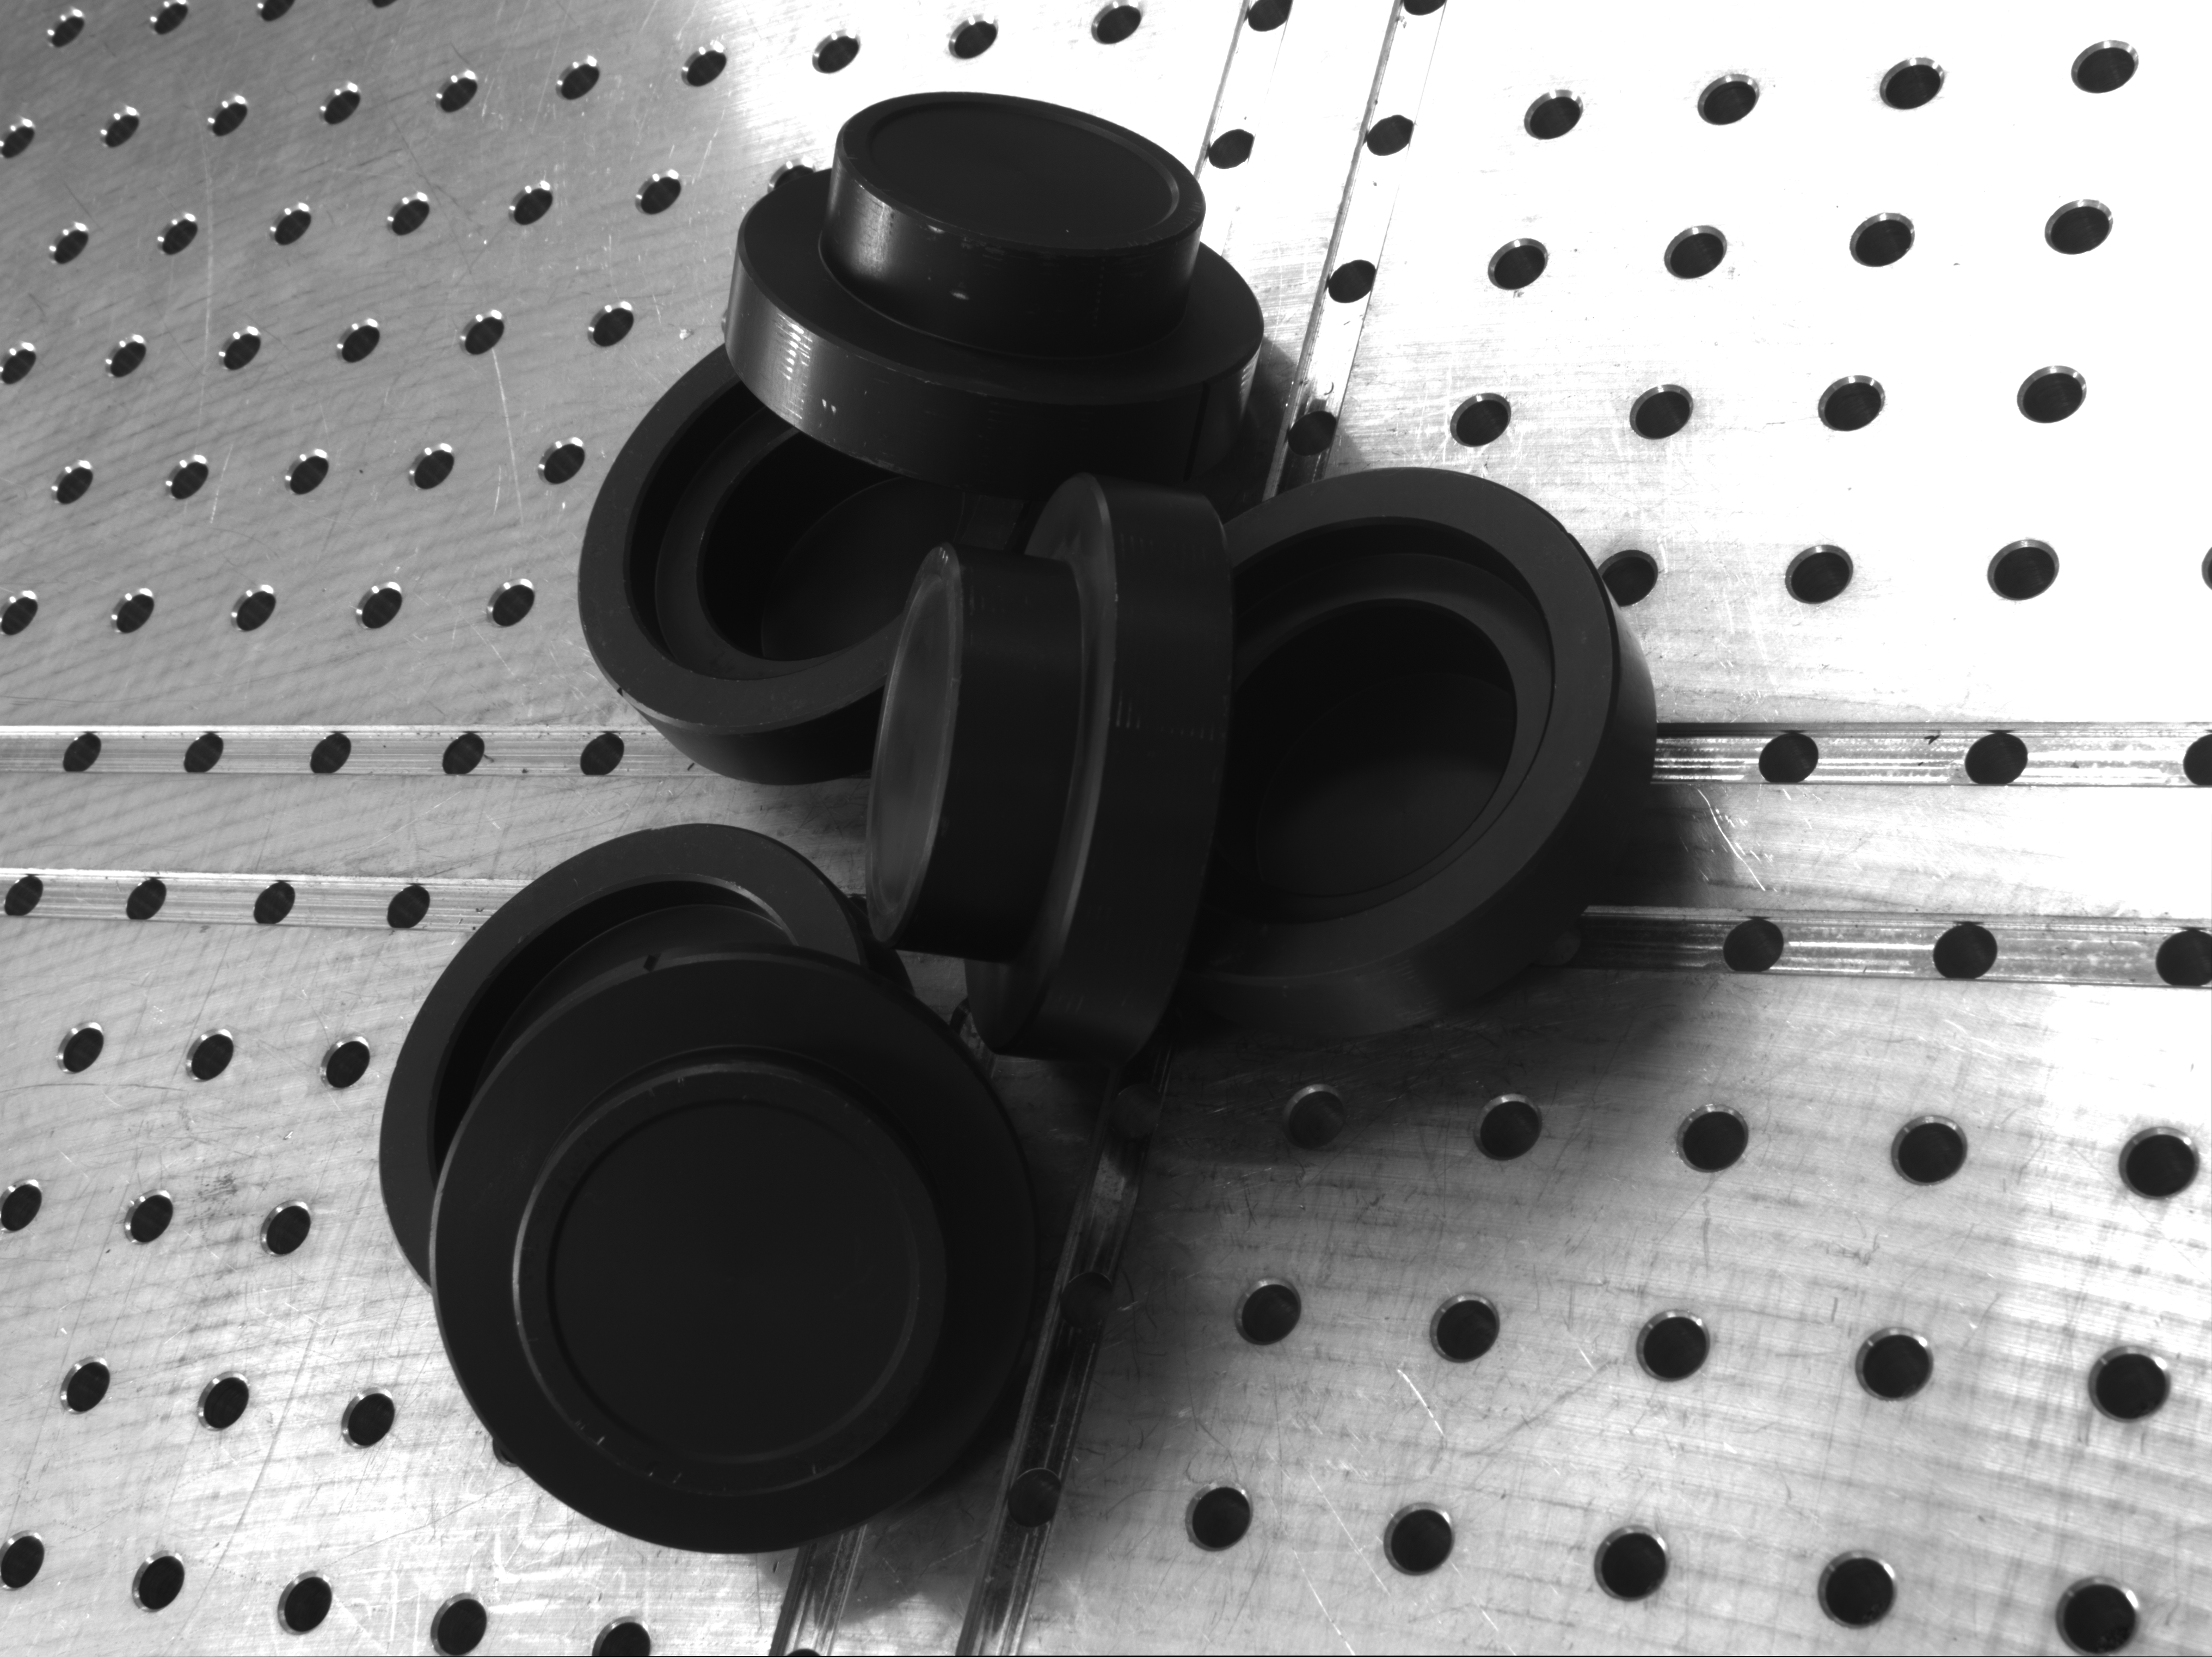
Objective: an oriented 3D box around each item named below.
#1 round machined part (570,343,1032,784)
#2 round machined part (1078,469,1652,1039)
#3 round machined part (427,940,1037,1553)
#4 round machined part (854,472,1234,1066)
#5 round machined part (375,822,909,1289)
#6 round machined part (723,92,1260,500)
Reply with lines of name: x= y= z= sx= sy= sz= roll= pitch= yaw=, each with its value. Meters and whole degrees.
round machined part: x=-0.049 y=-0.051 z=0.694 sx=0.098 sy=0.042 sz=0.098 roll=-14 pitch=56 yaw=21
round machined part: x=0.045 y=-0.008 z=0.618 sx=0.098 sy=0.042 sz=0.098 roll=-14 pitch=56 yaw=21
round machined part: x=-0.060 y=0.069 z=0.591 sx=0.098 sy=0.042 sz=0.098 roll=0 pitch=94 yaw=-5
round machined part: x=-0.014 y=-0.011 z=0.613 sx=0.042 sy=0.098 sz=0.098 roll=10 pitch=57 yaw=-14
round machined part: x=-0.076 y=0.051 z=0.646 sx=0.098 sy=0.042 sz=0.098 roll=-14 pitch=56 yaw=21
round machined part: x=-0.019 y=-0.102 z=0.676 sx=0.098 sy=0.042 sz=0.098 roll=10 pitch=32 yaw=-6
